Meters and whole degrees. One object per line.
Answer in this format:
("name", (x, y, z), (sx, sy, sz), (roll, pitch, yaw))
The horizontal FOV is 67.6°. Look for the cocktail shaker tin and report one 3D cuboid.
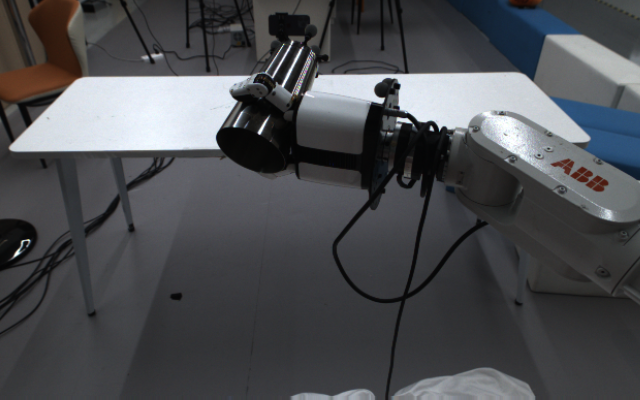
("cocktail shaker tin", (-0.061, -0.131, 0.639), (0.093, 0.093, 0.170), (13, 60, 15))
